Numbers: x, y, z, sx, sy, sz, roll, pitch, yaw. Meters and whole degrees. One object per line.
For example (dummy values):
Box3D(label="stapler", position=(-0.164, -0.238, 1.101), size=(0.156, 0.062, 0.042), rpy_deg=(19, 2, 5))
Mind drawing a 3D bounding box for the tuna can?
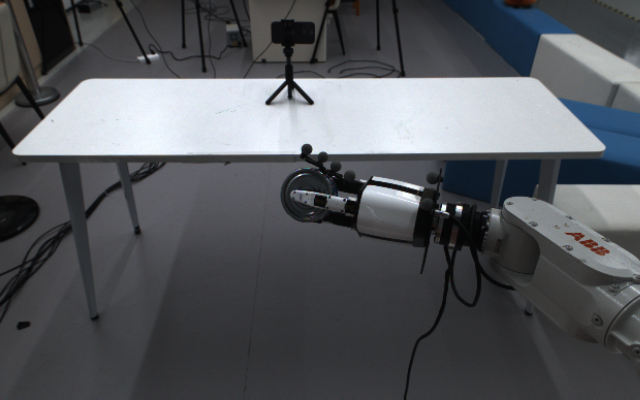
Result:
Box3D(label="tuna can", position=(-0.016, -0.009, 0.749), size=(0.085, 0.085, 0.034), rpy_deg=(12, 4, 15))
